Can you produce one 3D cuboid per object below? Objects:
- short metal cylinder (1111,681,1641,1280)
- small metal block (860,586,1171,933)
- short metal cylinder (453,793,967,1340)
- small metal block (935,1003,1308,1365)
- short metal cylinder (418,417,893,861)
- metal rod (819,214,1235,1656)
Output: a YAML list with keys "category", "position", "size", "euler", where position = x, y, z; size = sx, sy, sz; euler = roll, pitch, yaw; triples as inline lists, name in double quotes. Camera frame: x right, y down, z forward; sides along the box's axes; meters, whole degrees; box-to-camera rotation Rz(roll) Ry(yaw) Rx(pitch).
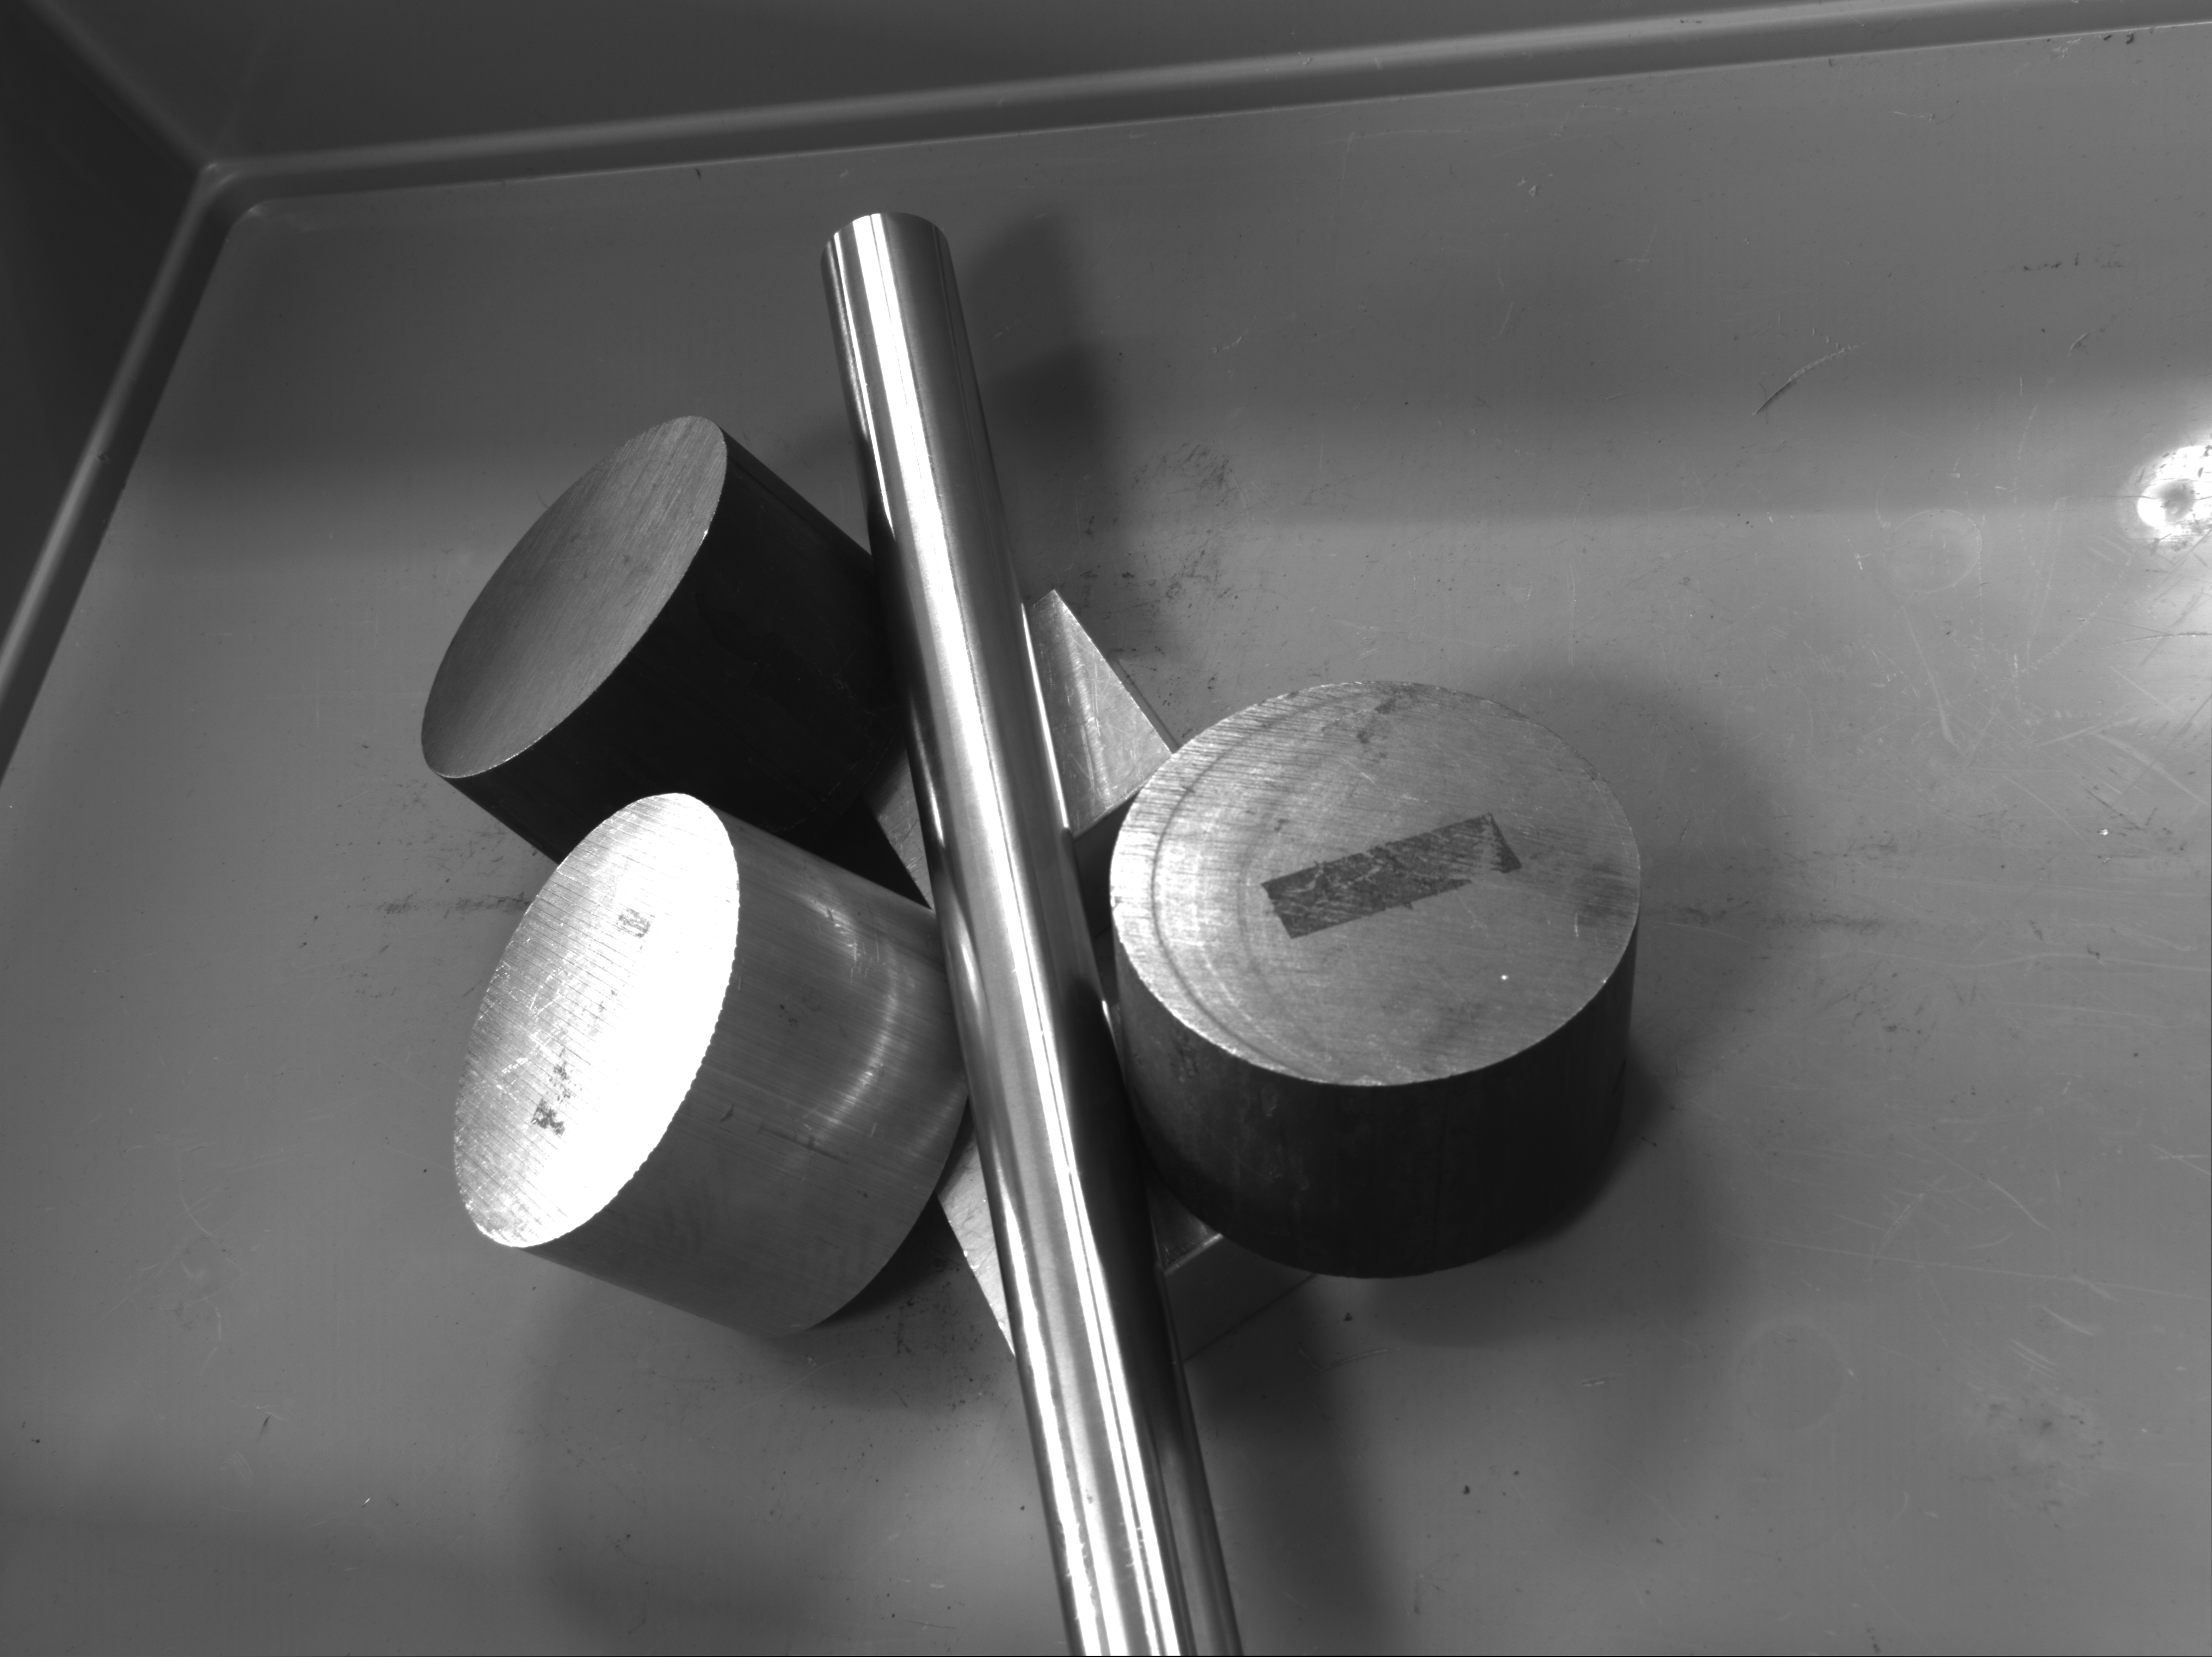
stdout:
- category: "short metal cylinder"
  position: [0.042, 0.023, 0.574]
  size: [0.080, 0.050, 0.080]
  euler: [-2, 49, 2]
- category: "small metal block"
  position: [-0.013, -0.007, 0.655]
  size: [0.050, 0.025, 0.050]
  euler: [-37, 51, 3]
- category: "short metal cylinder"
  position: [-0.067, 0.041, 0.622]
  size: [0.080, 0.050, 0.080]
  euler: [-32, 45, 38]
- category: "small metal block"
  position: [0.002, 0.061, 0.605]
  size: [0.050, 0.025, 0.050]
  euler: [-35, 51, 5]
- category: "short metal cylinder"
  position: [-0.079, -0.028, 0.670]
  size: [0.080, 0.050, 0.080]
  euler: [-34, 33, 26]
- category: "metal rod"
  position: [-0.017, 0.011, 0.614]
  size: [0.025, 0.025, 0.300]
  euler: [-23, 53, 15]
